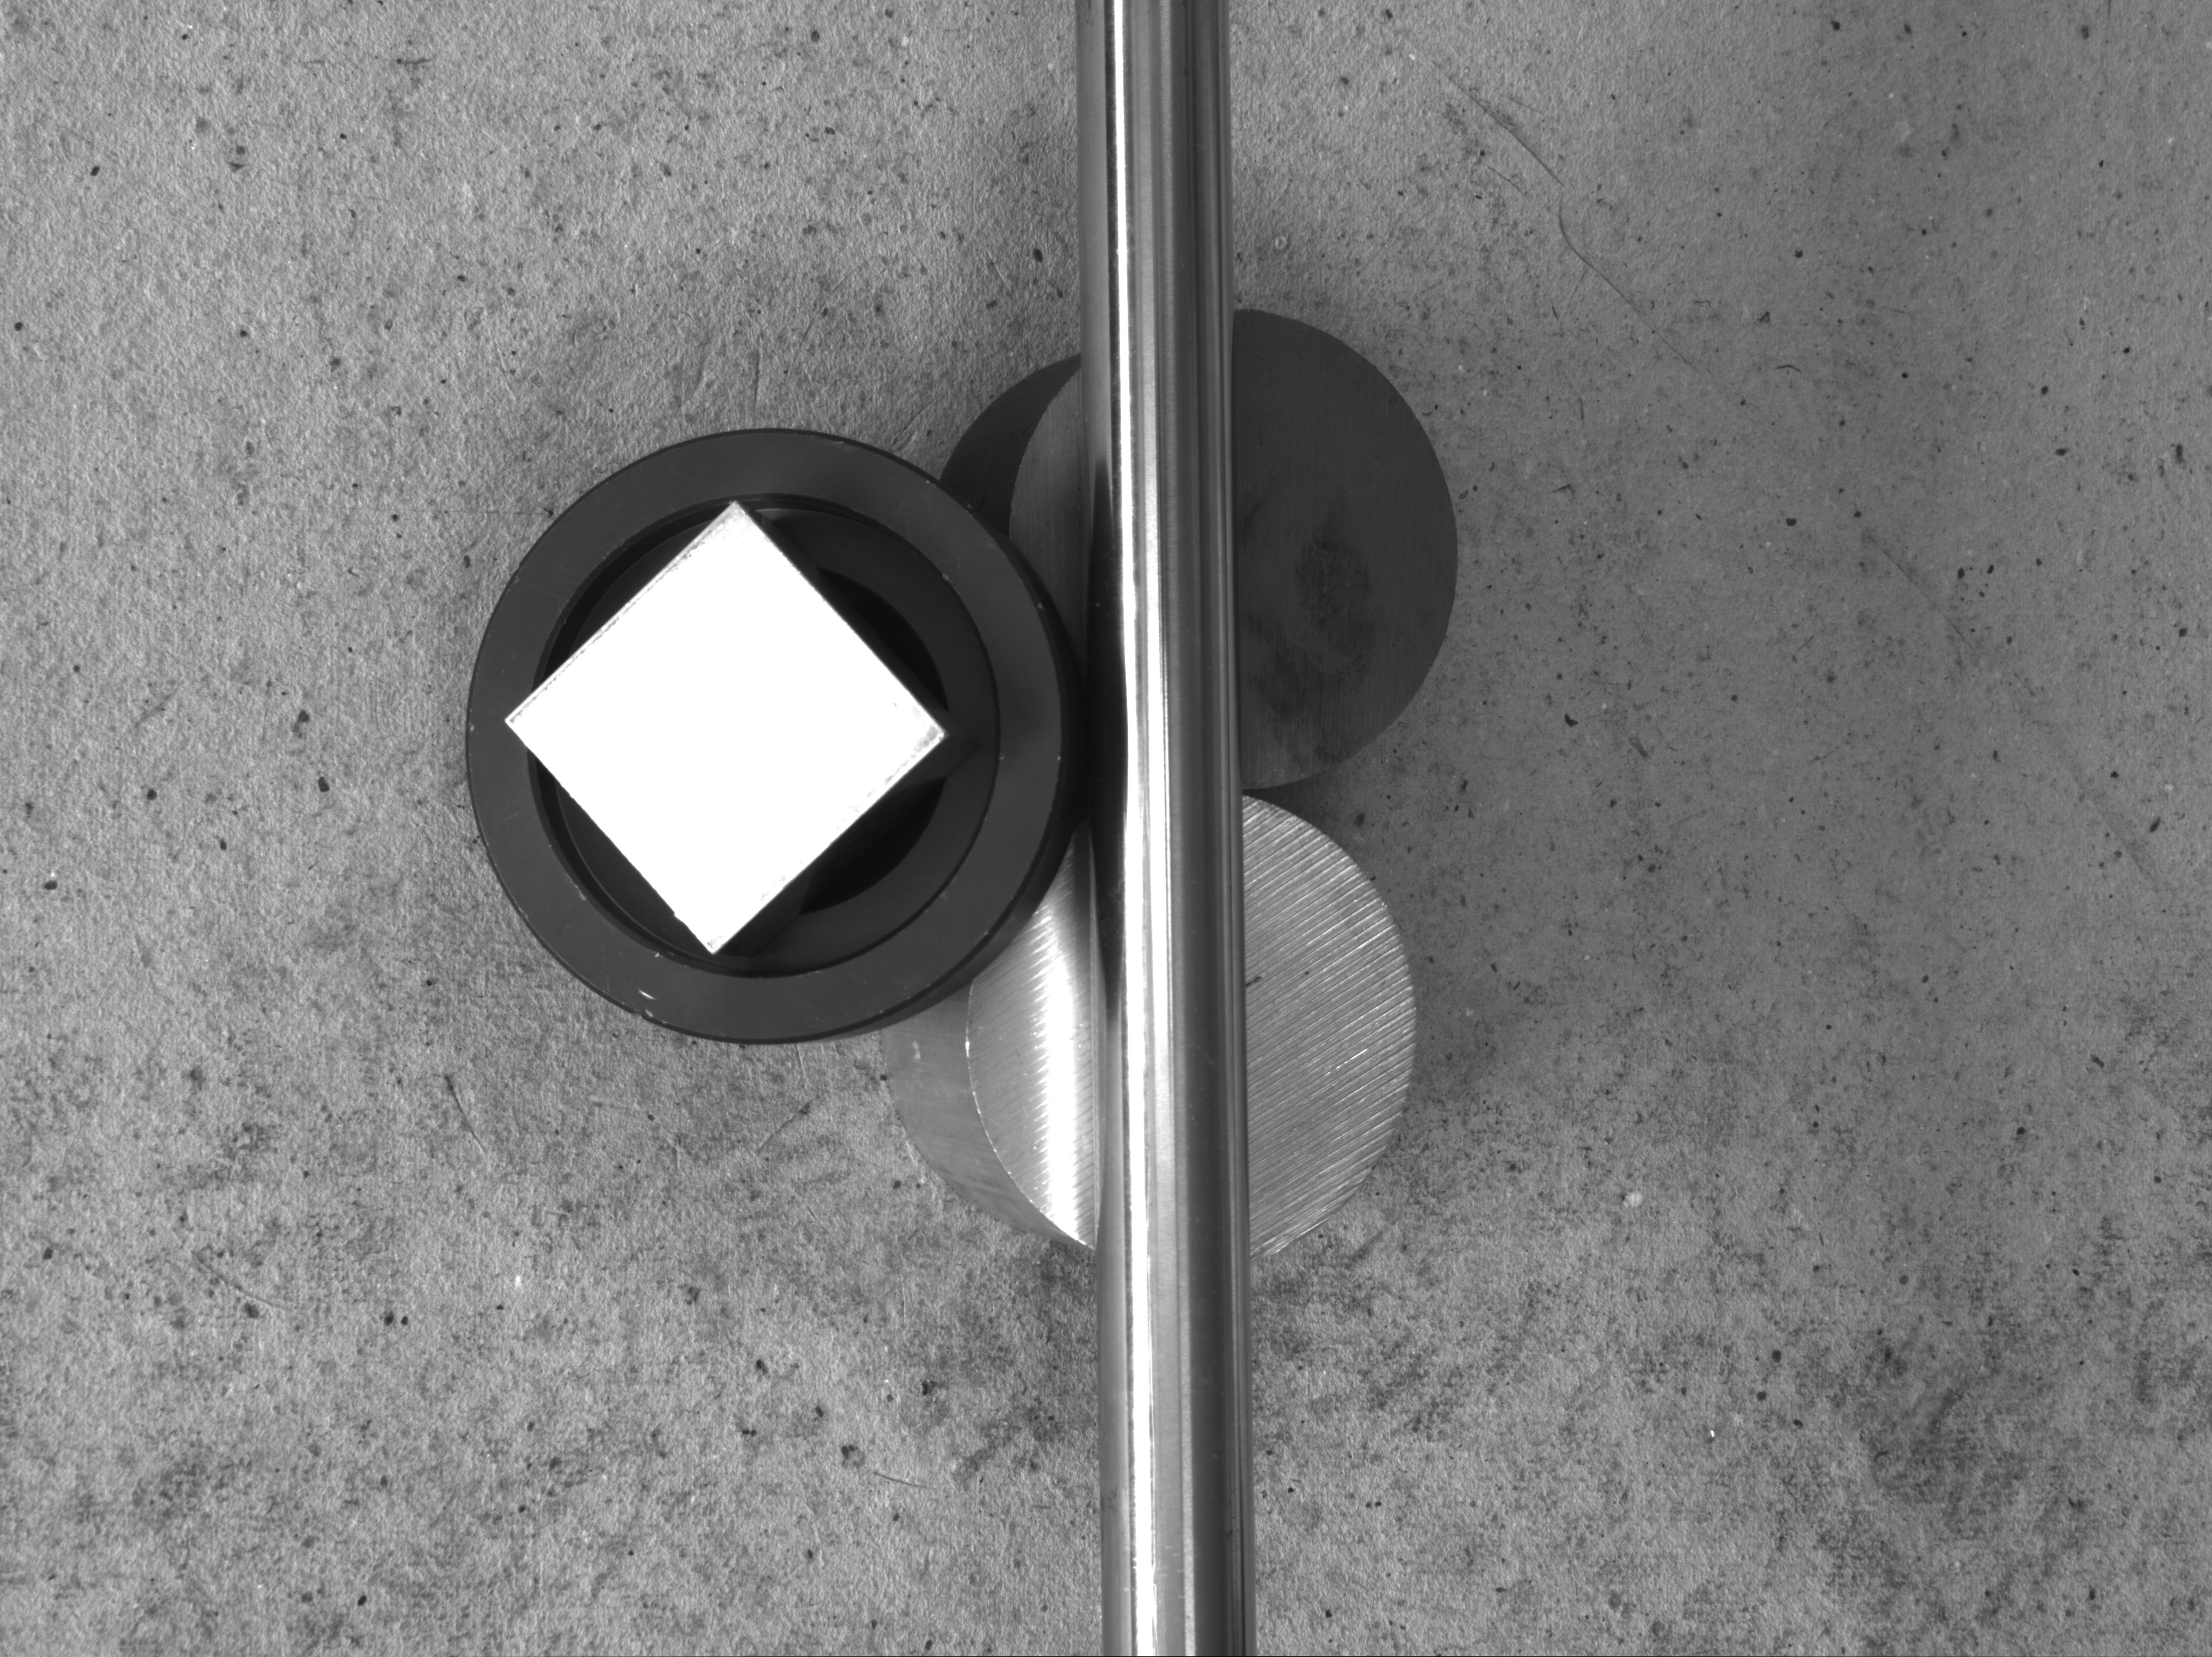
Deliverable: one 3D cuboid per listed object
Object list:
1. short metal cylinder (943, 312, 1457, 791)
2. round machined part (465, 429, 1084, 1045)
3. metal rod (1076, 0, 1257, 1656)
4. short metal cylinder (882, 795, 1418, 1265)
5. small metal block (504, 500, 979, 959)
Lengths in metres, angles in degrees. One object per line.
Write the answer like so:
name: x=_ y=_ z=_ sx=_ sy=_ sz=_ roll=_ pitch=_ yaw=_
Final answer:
short metal cylinder: x=0.014 y=-0.046 z=0.636 sx=0.080 sy=0.050 sz=0.080 roll=0 pitch=90 yaw=-20
round machined part: x=-0.051 y=-0.014 z=0.602 sx=0.098 sy=0.042 sz=0.098 roll=0 pitch=87 yaw=9
metal rod: x=0.010 y=-0.010 z=0.594 sx=0.025 sy=0.025 sz=0.300 roll=-1 pitch=90 yaw=-20
short metal cylinder: x=0.007 y=0.034 z=0.632 sx=0.080 sy=0.050 sz=0.080 roll=0 pitch=89 yaw=-20
small metal block: x=-0.057 y=-0.015 z=0.580 sx=0.050 sy=0.025 sz=0.050 roll=-43 pitch=82 yaw=5
